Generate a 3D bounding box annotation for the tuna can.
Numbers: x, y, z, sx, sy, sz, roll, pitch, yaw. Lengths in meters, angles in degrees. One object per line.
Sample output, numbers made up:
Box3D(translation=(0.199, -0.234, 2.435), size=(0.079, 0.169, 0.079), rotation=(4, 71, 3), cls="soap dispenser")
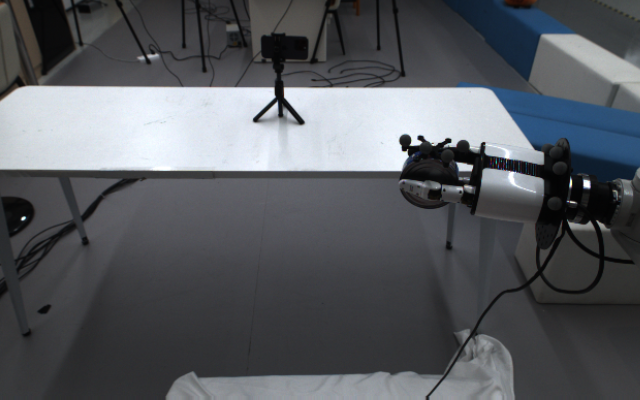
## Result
Box3D(translation=(0.162, -0.034, 0.713), size=(0.085, 0.085, 0.034), rotation=(10, 33, 11), cls="tuna can")
